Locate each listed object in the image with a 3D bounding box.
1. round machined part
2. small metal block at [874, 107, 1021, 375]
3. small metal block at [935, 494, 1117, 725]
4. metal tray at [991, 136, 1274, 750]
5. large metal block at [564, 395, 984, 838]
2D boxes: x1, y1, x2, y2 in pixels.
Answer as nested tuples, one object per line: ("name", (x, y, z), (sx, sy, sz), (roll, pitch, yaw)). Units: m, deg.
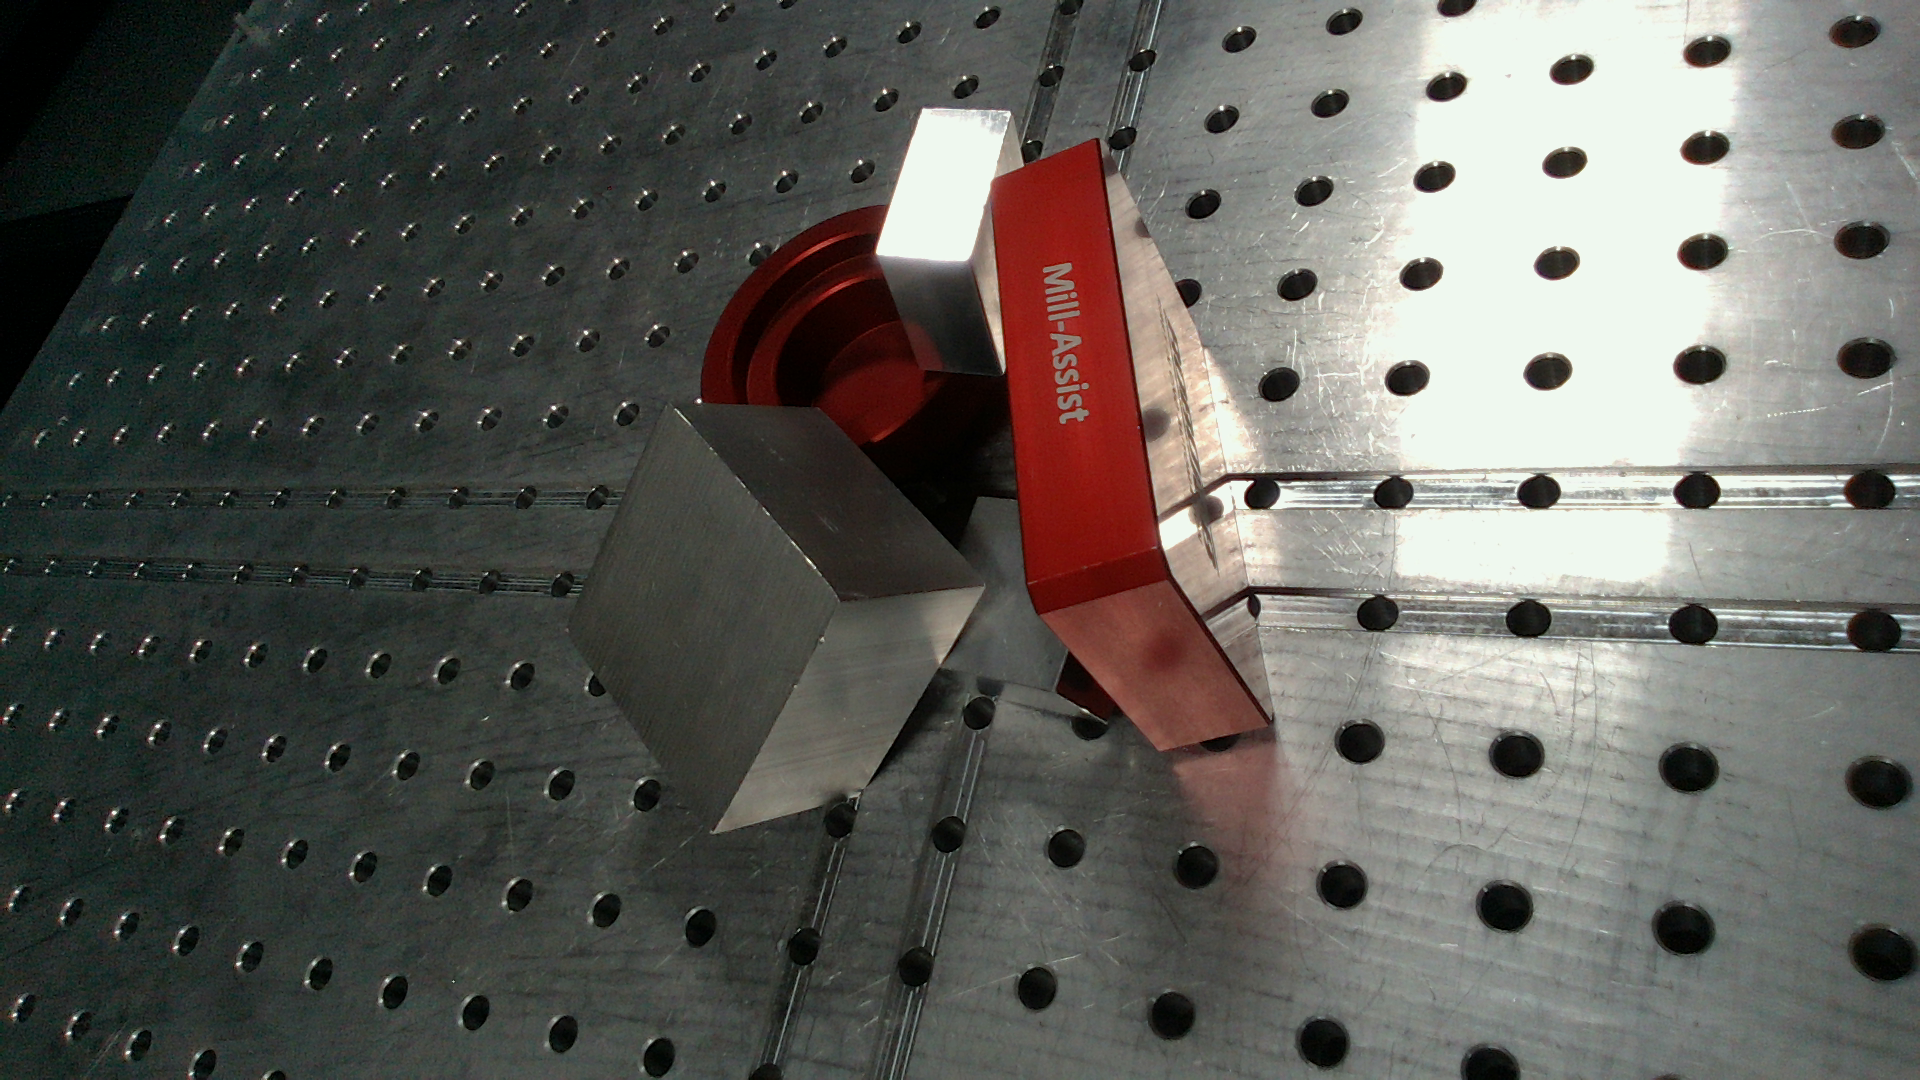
("round machined part", (-0.030, -0.055, 0.436), (0.098, 0.042, 0.098), (-13, 56, 21))
("small metal block", (0.001, -0.081, 0.377), (0.025, 0.050, 0.050), (7, 63, 16))
("small metal block", (0.022, 0.017, 0.368), (0.050, 0.025, 0.050), (7, 69, 44))
("metal tray", (0.043, -0.024, 0.346), (0.030, 0.090, 0.130), (-17, 55, 19))
("large metal block", (-0.053, 0.018, 0.369), (0.080, 0.050, 0.080), (46, 120, 29))
